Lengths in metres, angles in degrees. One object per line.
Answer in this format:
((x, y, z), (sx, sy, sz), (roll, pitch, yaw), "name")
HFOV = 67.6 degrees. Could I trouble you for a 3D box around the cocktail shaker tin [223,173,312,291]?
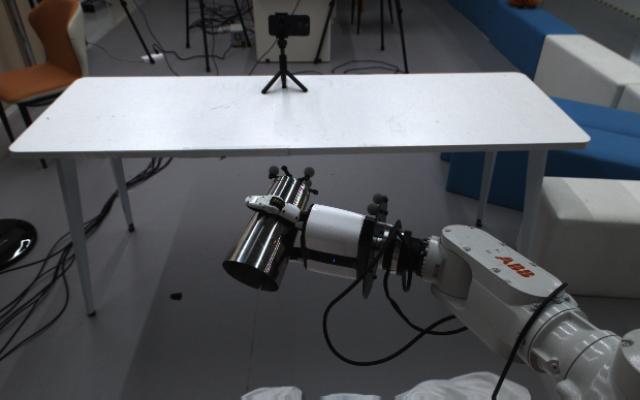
((-0.078, 0.046, 0.762), (0.093, 0.093, 0.170), (14, 58, 16), "cocktail shaker tin")
